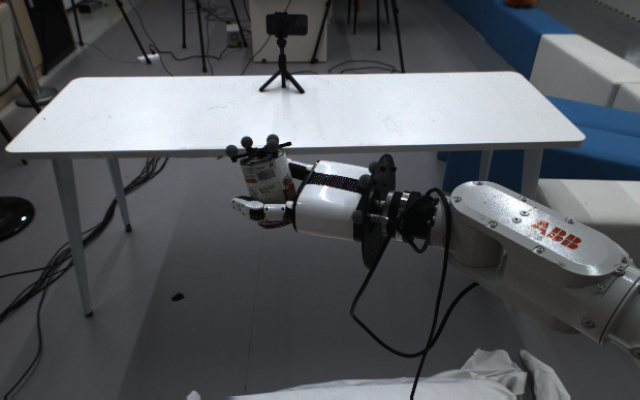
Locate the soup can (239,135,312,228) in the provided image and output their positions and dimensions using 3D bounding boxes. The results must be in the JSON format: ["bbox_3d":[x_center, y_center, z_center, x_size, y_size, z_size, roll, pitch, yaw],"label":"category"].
[{"bbox_3d":[-0.069,-0.018,0.698,0.067,0.101,0.067,-13,20,5],"label":"soup can"}]
